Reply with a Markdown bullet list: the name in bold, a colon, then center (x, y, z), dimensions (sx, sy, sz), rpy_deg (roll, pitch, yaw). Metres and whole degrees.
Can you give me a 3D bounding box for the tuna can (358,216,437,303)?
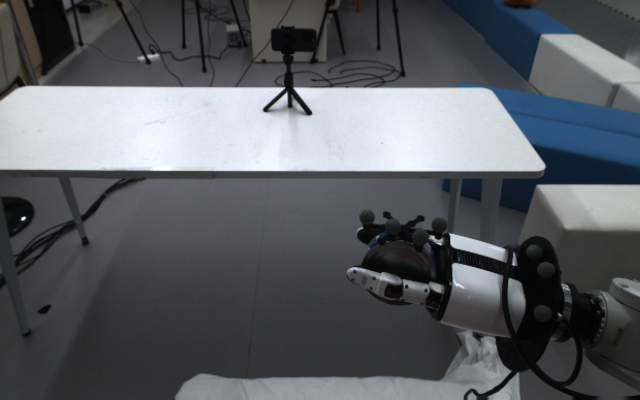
- **tuna can**: center (0.093, 0.076, 0.564), dimensions (0.085, 0.085, 0.034), rpy_deg (9, 23, 10)
